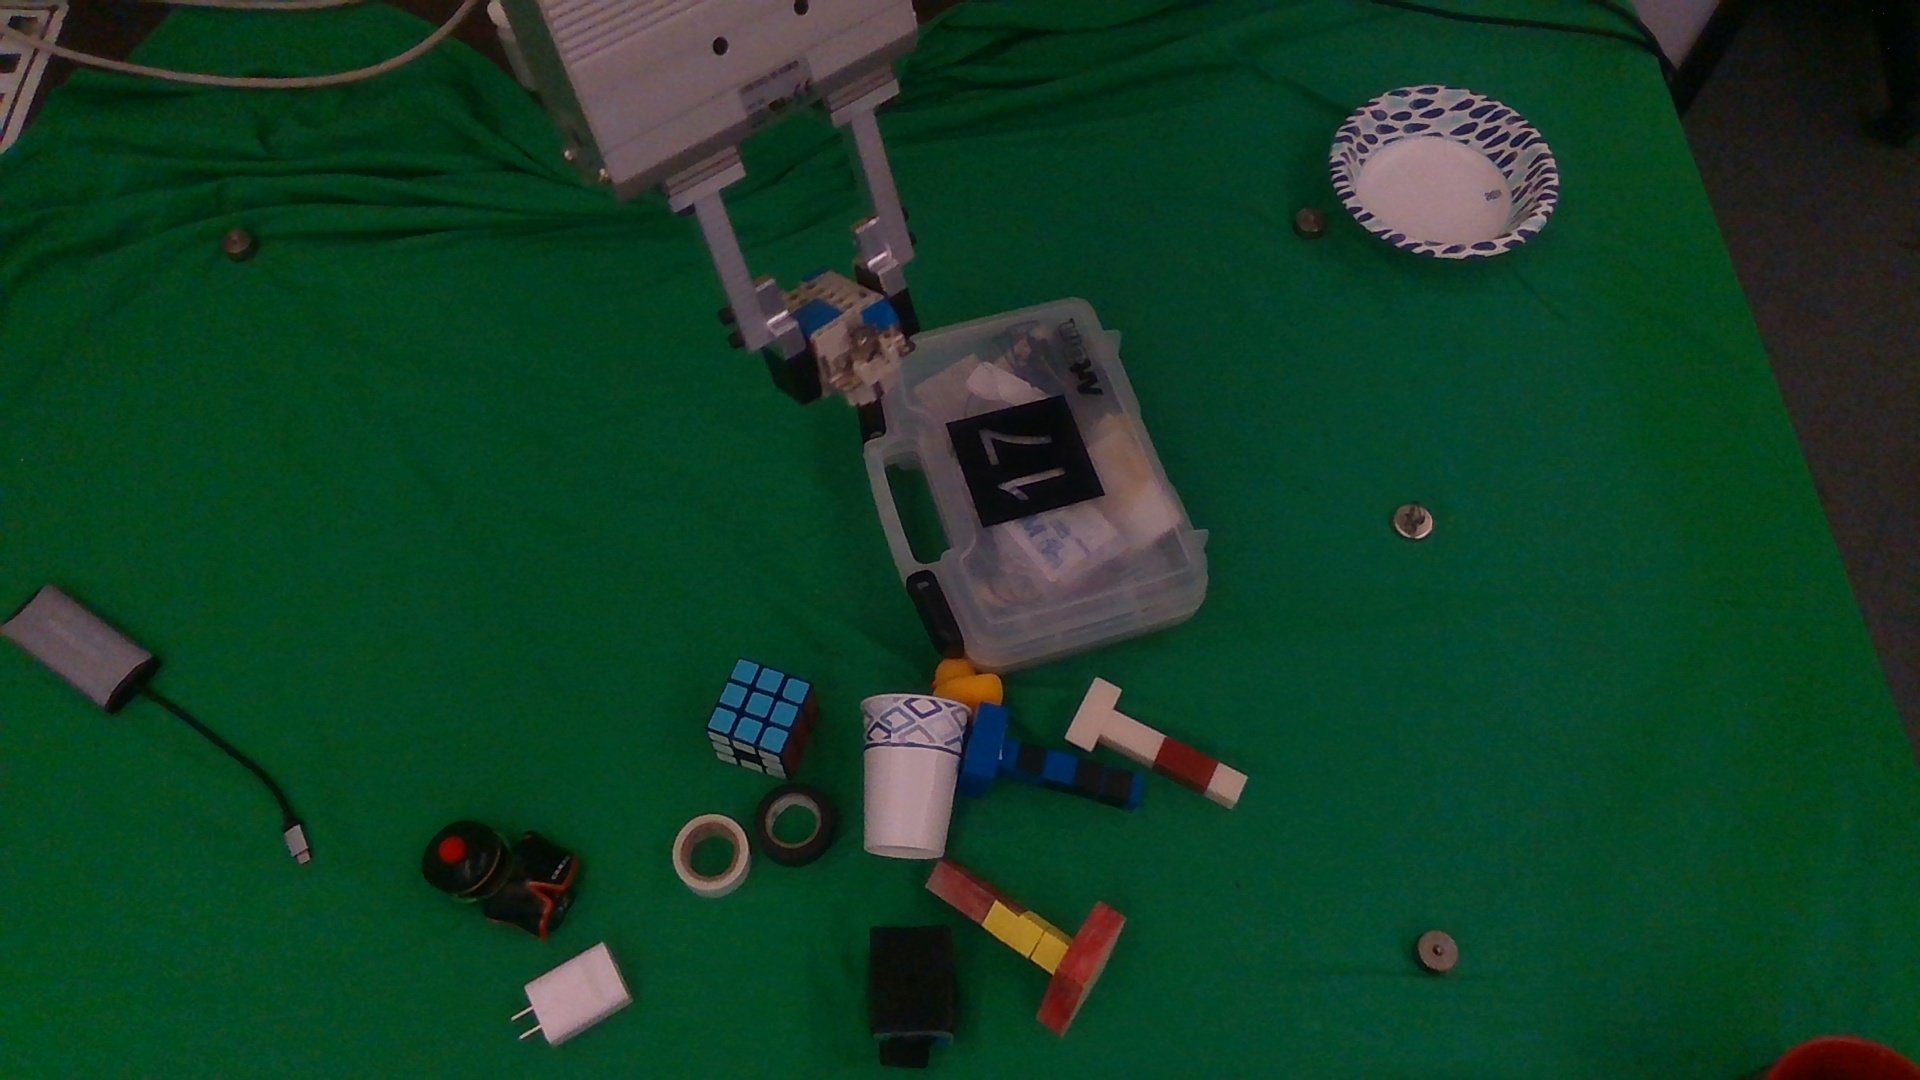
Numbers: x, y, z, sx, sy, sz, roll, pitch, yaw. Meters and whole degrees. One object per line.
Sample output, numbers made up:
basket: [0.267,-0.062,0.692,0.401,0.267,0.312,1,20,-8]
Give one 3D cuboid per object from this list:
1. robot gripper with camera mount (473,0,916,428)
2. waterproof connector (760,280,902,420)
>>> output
robot gripper with camera mount: [-0.115,-0.141,0.513,0.118,0.158,0.194,-33,40,-27]
waterproof connector: [-0.050,-0.069,0.511,0.035,0.037,0.065,-27,37,-18]
